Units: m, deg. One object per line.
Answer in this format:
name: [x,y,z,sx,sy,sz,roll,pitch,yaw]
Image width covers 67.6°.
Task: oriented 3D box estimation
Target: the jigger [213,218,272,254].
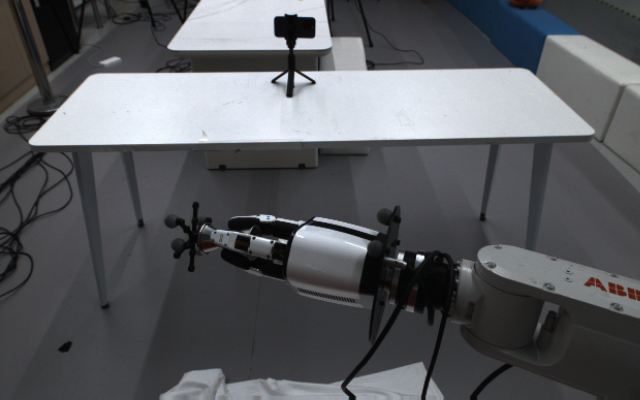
jigger: [-0.104,0.046,0.605,0.071,0.043,0.043,3,34,15]
